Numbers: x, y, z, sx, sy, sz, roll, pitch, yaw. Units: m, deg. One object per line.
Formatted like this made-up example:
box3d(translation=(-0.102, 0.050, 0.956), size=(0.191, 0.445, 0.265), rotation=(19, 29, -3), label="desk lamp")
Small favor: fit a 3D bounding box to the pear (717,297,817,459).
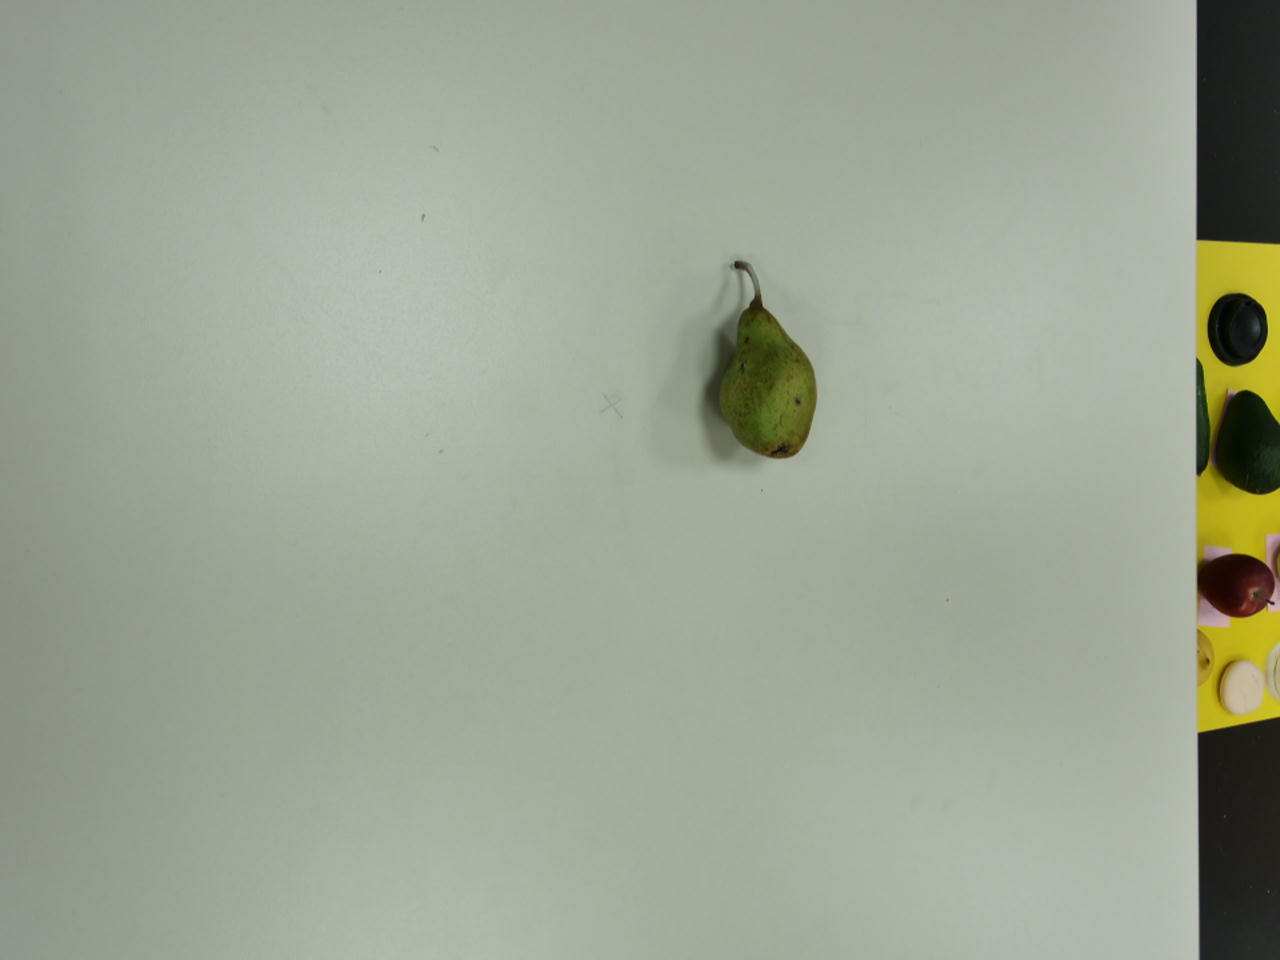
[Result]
box3d(translation=(0.080, -0.068, 0.587), size=(0.056, 0.056, 0.111), rotation=(15, 84, -21), label="pear")
